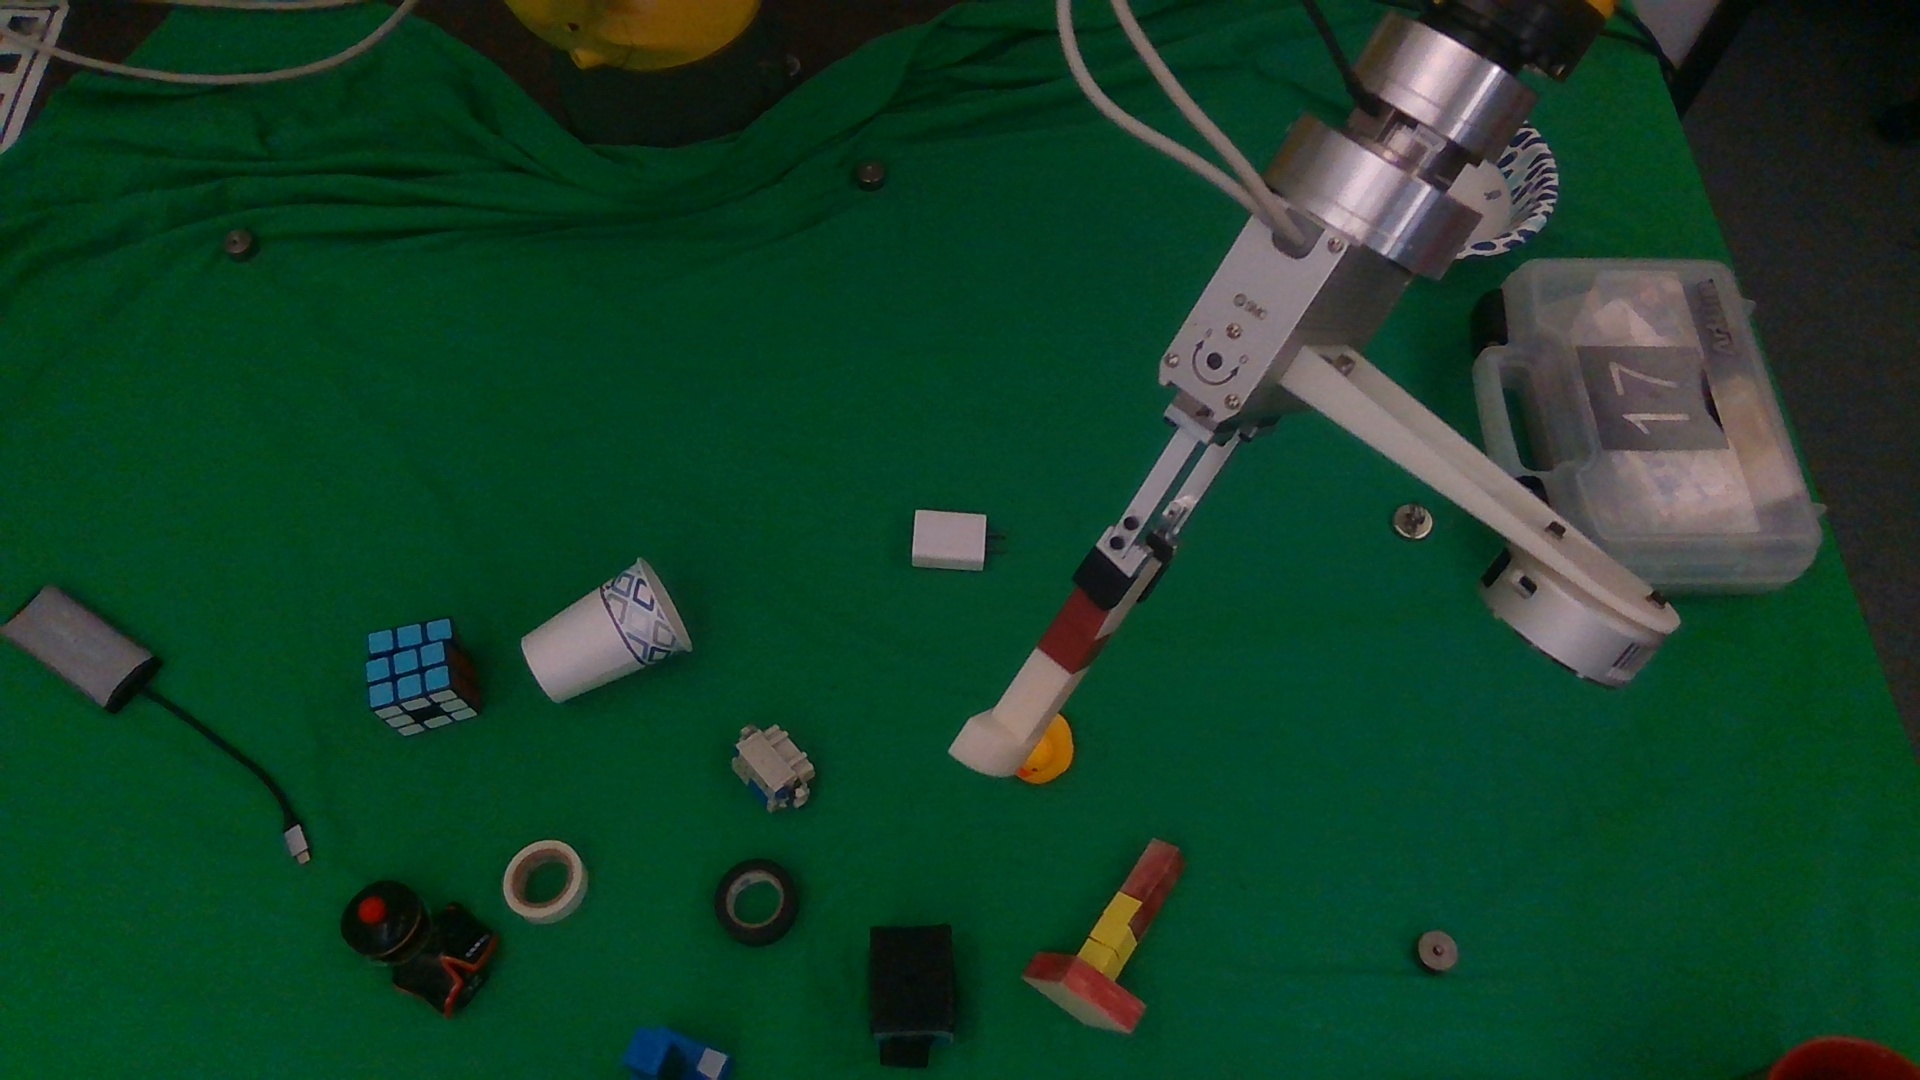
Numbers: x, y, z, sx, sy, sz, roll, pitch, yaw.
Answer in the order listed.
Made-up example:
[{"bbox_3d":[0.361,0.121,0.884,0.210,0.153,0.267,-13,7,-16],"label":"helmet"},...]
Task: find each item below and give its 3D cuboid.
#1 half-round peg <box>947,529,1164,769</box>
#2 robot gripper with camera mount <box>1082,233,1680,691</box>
[{"bbox_3d":[0.044,0.047,0.597,0.031,0.122,0.054,43,27,21],"label":"half-round peg"},{"bbox_3d":[0.160,0.004,0.527,0.194,0.159,0.118,38,26,22],"label":"robot gripper with camera mount"}]
